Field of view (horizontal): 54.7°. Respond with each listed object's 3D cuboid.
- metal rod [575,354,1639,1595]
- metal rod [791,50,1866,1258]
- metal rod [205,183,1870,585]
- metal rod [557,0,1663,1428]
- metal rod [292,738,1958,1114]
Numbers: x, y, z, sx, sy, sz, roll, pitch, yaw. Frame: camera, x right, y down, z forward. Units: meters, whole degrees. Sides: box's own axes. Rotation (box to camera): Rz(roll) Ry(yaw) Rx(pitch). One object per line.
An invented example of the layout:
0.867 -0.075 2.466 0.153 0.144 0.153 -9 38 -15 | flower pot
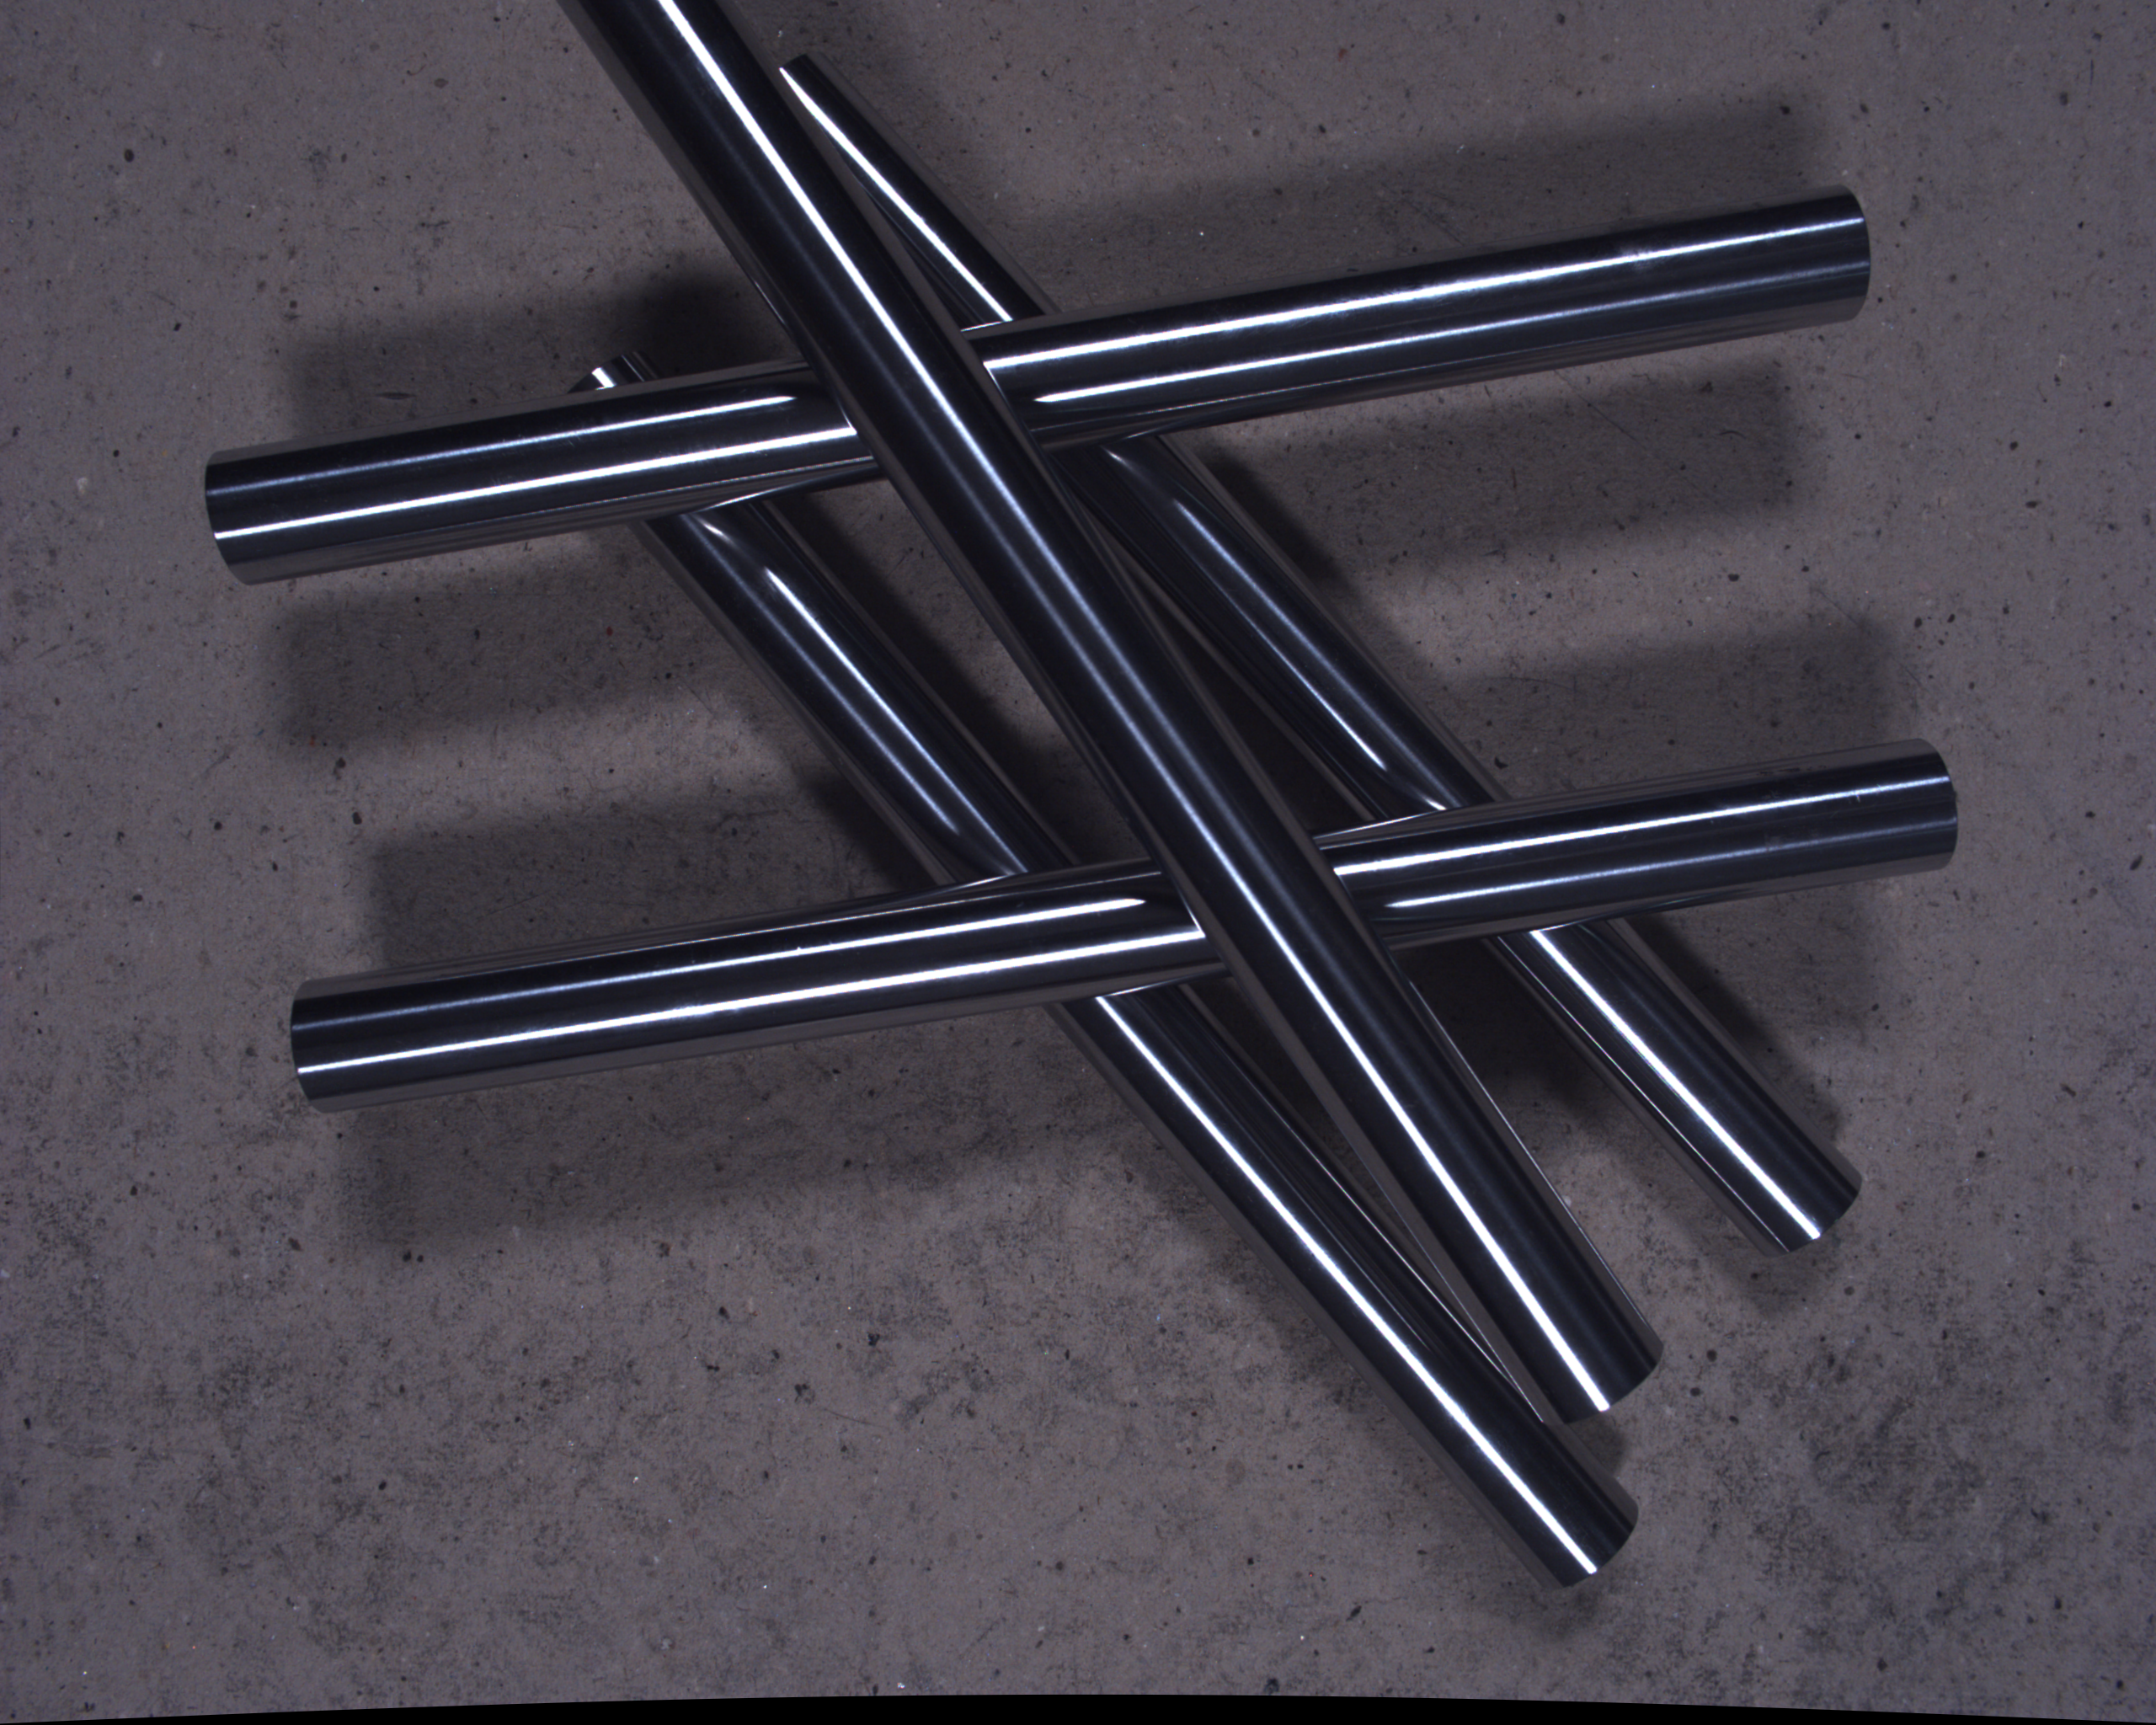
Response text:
0.003 0.022 0.410 0.025 0.025 0.300 -41 91 0 | metal rod
0.044 -0.040 0.411 0.025 0.025 0.300 -43 91 0 | metal rod
-0.006 -0.089 0.386 0.302 0.025 0.025 -10 90 -1 | metal rod
0.006 -0.032 0.361 0.025 0.025 0.299 -35 91 0 | metal rod
0.009 0.011 0.387 0.302 0.025 0.025 -9 90 -1 | metal rod
